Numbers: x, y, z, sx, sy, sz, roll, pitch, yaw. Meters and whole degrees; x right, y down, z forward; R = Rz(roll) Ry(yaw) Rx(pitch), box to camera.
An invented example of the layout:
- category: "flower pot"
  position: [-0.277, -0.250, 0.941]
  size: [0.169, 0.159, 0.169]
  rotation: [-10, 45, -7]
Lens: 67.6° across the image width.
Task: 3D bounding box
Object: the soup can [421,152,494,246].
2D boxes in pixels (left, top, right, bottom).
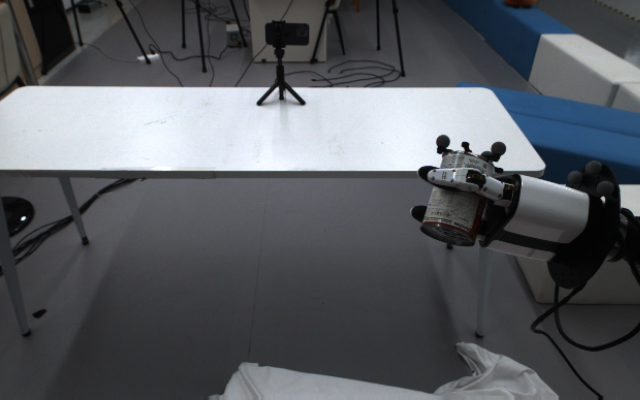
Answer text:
- category: "soup can"
  position: [0.172, -0.003, 0.604]
  size: [0.067, 0.067, 0.101]
  rotation: [16, 76, 19]
